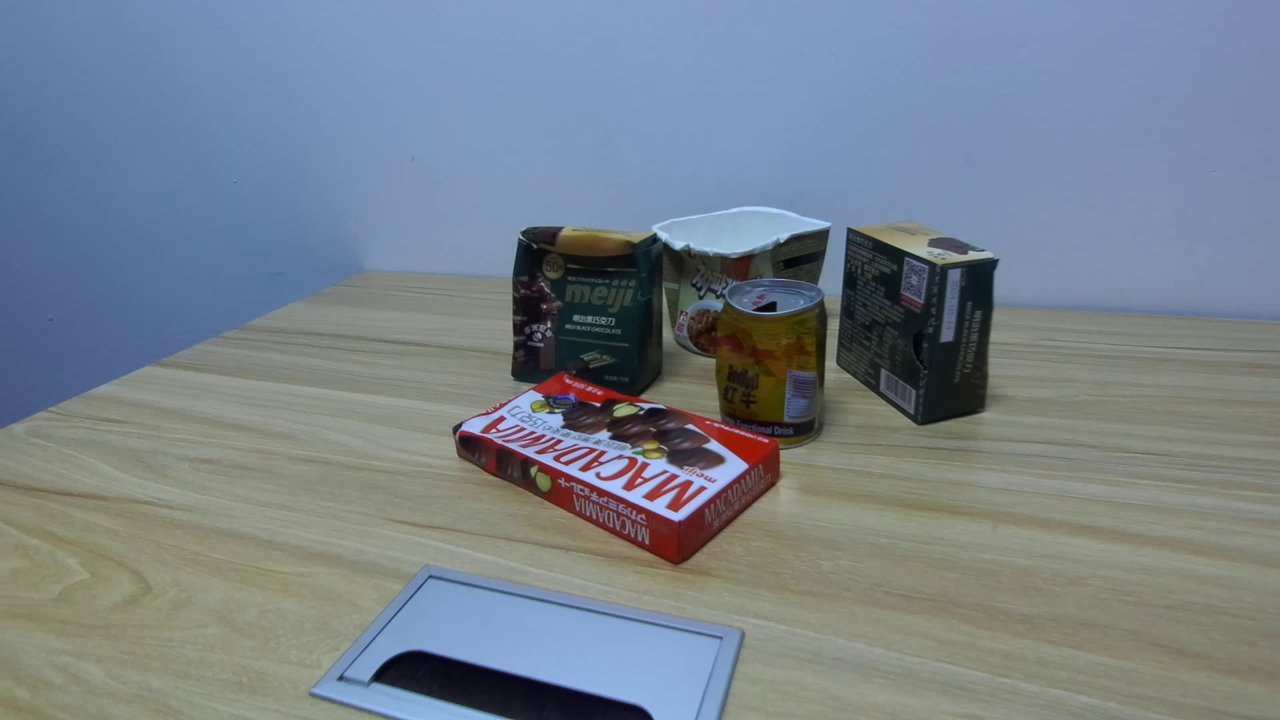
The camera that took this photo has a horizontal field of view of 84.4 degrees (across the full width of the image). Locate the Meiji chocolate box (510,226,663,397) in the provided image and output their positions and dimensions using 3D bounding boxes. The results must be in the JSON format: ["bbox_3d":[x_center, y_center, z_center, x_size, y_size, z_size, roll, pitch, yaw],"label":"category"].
[{"bbox_3d":[-0.039,-0.039,0.530,0.117,0.117,0.052,7,18,21],"label":"Meiji chocolate box"}]

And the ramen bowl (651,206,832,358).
[{"bbox_3d":[0.074,-0.068,0.592,0.133,0.097,0.114,19,33,38],"label":"ramen bowl"}]

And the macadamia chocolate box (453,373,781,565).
[{"bbox_3d":[-0.019,0.053,0.425,0.182,0.028,0.106,15,30,38],"label":"macadamia chocolate box"}]

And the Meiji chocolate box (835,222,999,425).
[{"bbox_3d":[0.188,-0.030,0.481,0.058,0.111,0.113,-8,24,-13],"label":"Meiji chocolate box"}]

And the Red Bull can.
[{"bbox_3d":[0.082,0.001,0.439,0.072,0.092,0.072,-2,26,1],"label":"Red Bull can"}]
